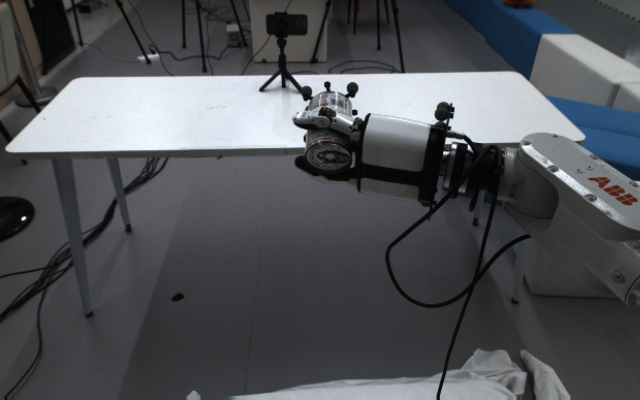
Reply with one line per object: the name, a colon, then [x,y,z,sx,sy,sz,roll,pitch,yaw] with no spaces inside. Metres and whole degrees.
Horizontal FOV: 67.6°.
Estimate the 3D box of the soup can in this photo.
soup can: [0.013,-0.097,0.695,0.067,0.067,0.101,3,59,1]
